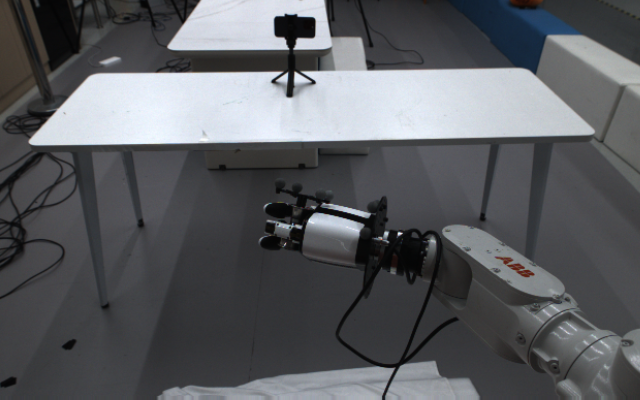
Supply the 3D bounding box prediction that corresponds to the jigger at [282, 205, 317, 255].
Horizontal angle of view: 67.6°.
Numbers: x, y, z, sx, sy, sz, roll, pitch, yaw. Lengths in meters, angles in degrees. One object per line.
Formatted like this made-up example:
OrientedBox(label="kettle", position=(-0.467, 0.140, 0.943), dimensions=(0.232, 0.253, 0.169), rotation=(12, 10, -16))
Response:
OrientedBox(label="jigger", position=(-0.036, 0.043, 0.771), dimensions=(0.043, 0.071, 0.043), rotation=(14, 2, 0))
